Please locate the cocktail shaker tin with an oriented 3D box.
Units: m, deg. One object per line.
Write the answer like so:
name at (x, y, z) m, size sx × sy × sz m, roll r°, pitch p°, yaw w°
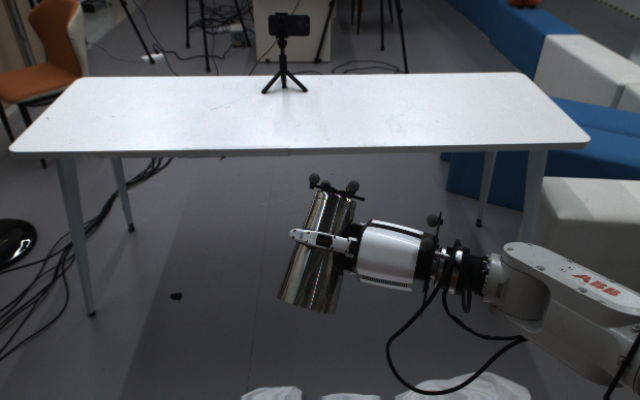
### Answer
cocktail shaker tin at (0.001, 0.076, 0.735) m, size 0.093 × 0.170 × 0.093 m, roll 16°, pitch -6°, yaw 2°
